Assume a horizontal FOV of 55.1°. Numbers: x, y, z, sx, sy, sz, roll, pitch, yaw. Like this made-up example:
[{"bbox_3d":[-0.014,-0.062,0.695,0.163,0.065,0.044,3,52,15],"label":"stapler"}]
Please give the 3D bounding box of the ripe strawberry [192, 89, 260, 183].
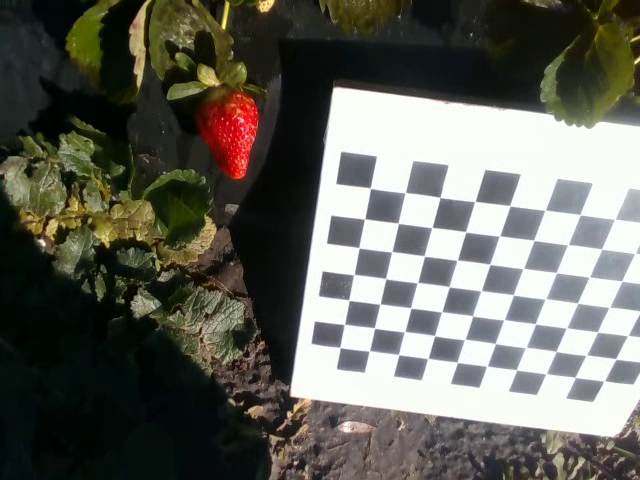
[{"bbox_3d":[-0.059,-0.069,0.399,0.048,0.069,0.040,-7,24,9],"label":"ripe strawberry"}]
